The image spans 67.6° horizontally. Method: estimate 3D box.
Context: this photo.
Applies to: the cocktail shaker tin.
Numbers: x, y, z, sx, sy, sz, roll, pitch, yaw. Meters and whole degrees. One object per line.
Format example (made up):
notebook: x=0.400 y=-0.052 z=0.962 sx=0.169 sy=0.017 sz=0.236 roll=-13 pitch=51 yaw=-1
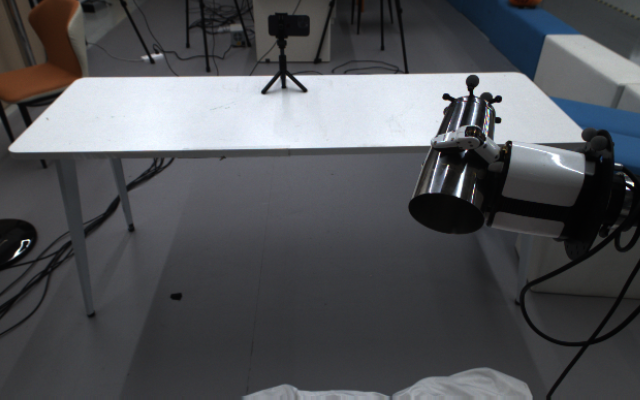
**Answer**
cocktail shaker tin: x=0.180 y=-0.052 z=0.627 sx=0.093 sy=0.093 sz=0.170 roll=14 pitch=60 yaw=16
